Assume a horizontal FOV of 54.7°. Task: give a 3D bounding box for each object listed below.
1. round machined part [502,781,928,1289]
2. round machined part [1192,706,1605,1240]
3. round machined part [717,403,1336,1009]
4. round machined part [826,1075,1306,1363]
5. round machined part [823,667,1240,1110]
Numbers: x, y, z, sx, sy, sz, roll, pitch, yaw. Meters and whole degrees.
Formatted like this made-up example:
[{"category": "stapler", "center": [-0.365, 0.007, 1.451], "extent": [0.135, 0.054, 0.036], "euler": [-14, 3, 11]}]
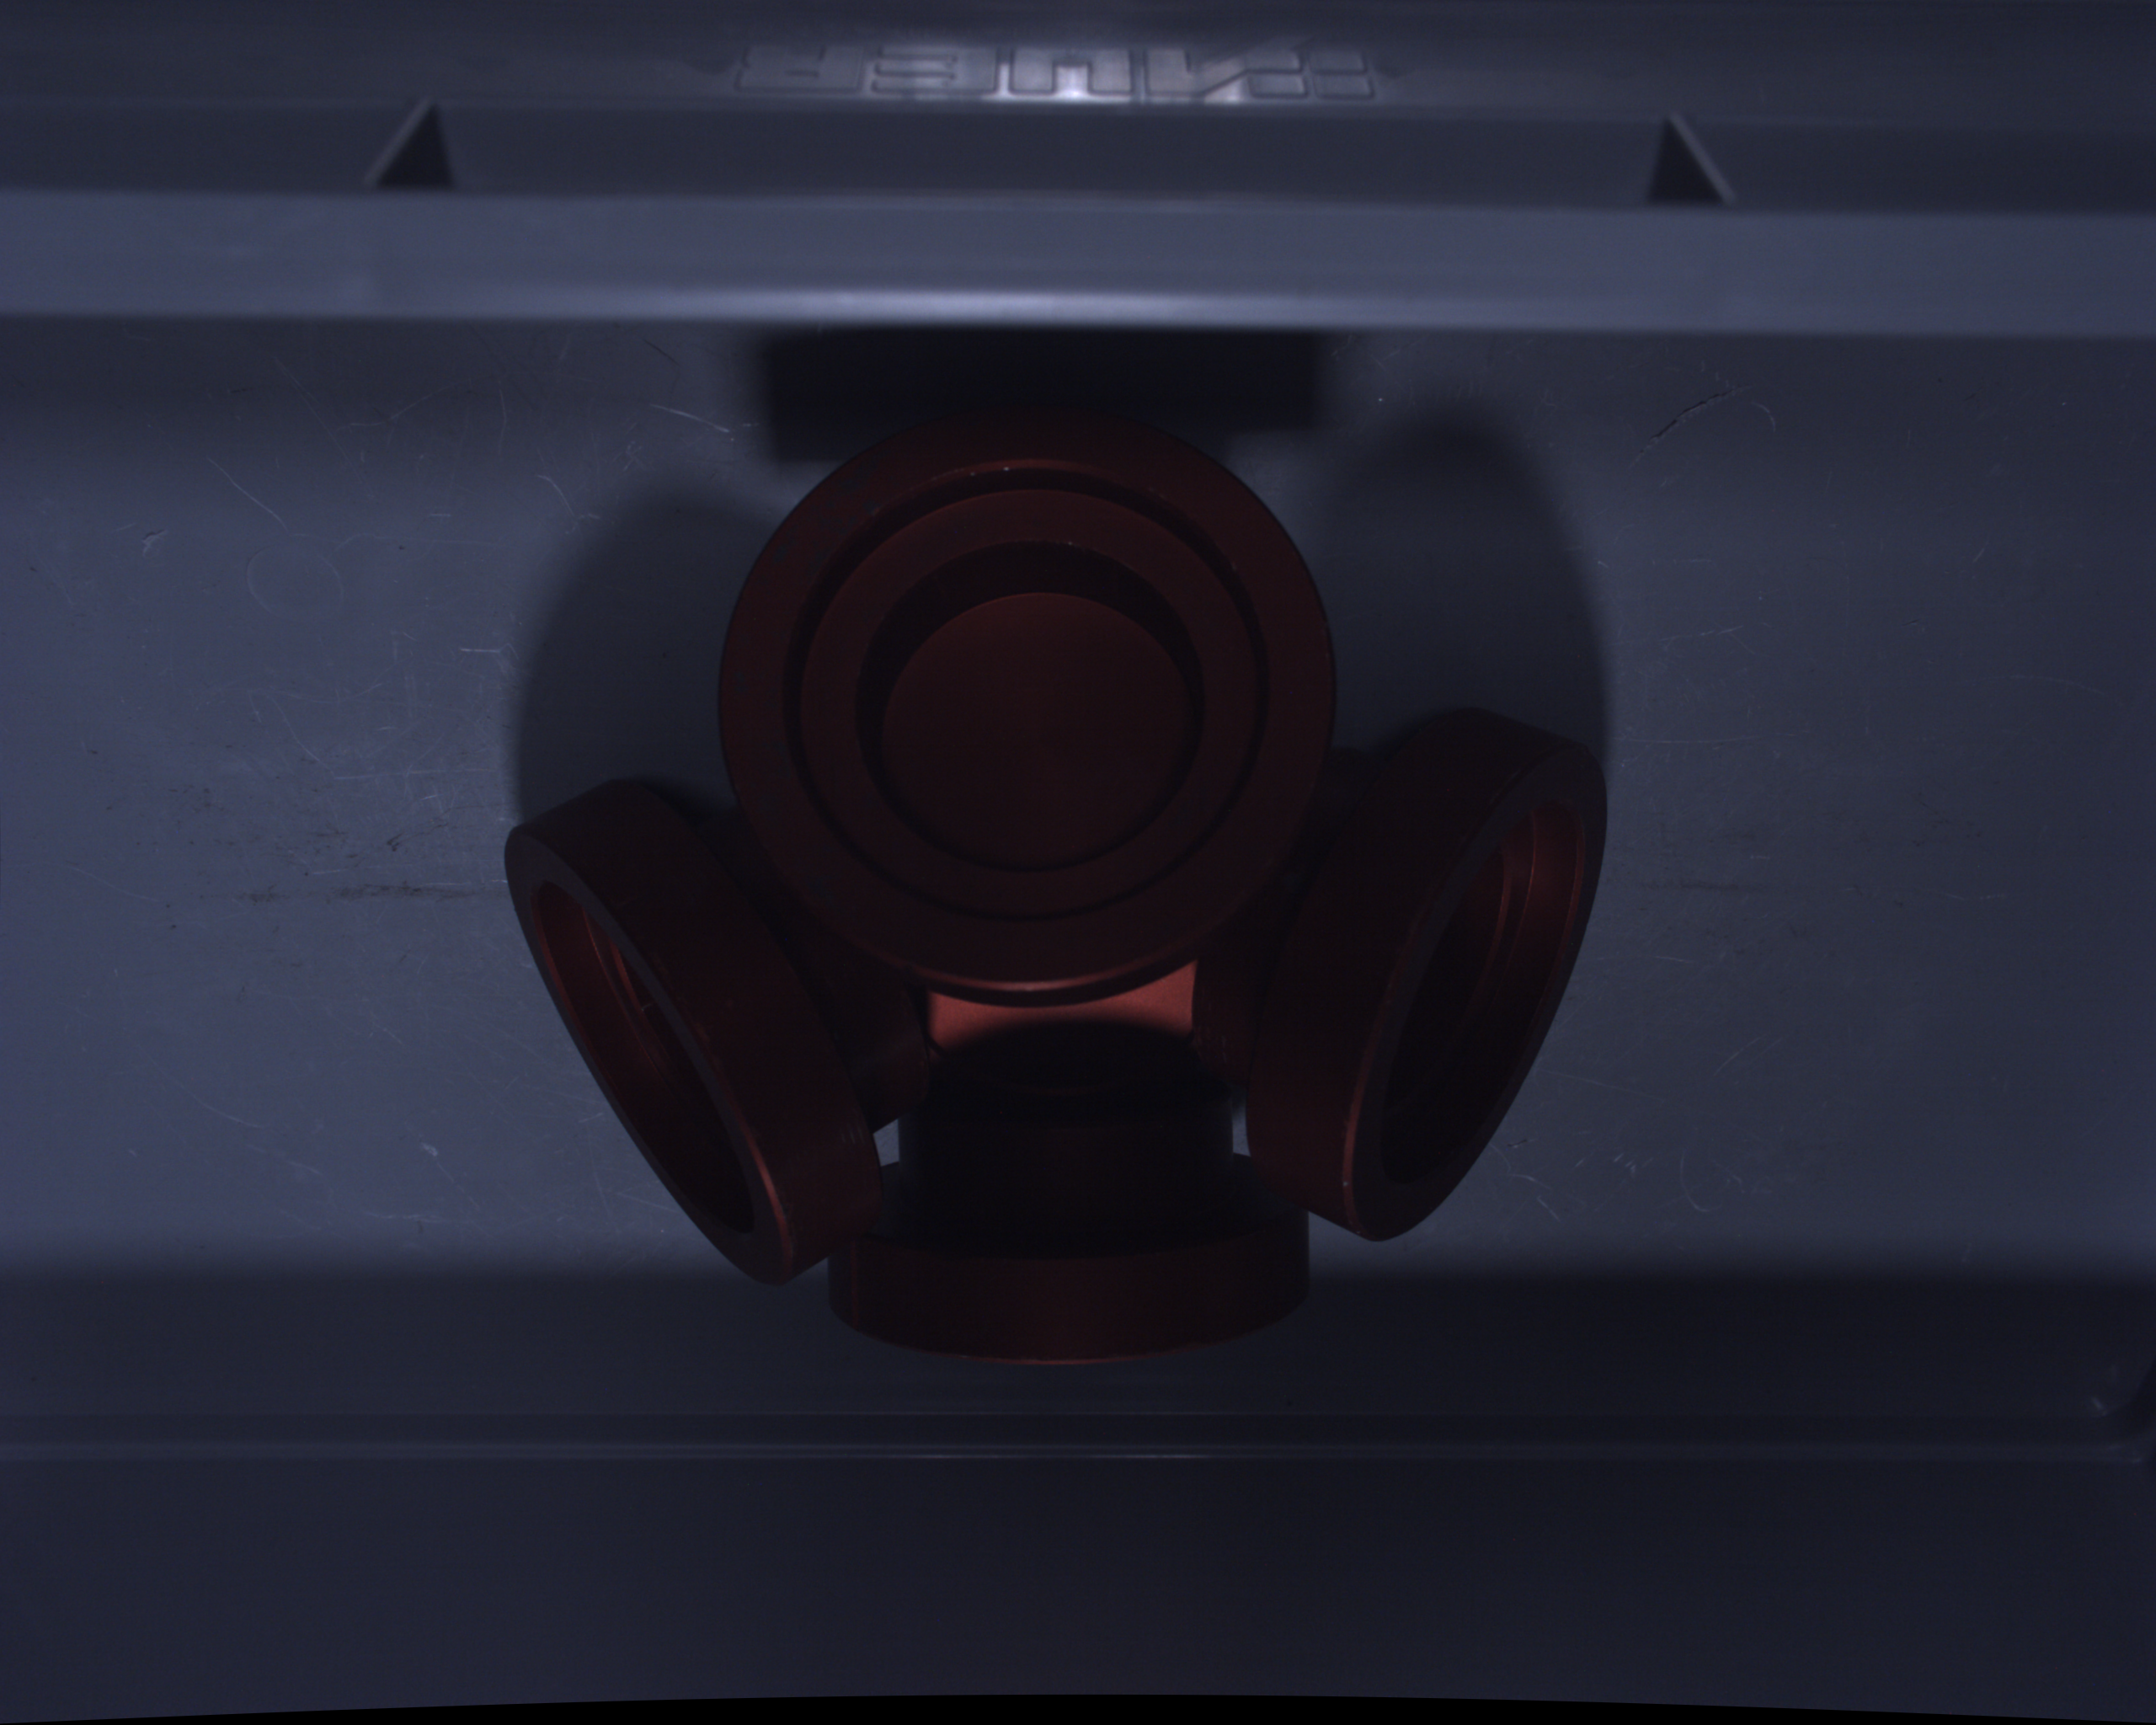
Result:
[{"category": "round machined part", "center": [-0.065, 0.028, 0.394], "extent": [0.042, 0.098, 0.097], "euler": [-31, 135, -24]}, {"category": "round machined part", "center": [0.057, 0.017, 0.388], "extent": [0.042, 0.099, 0.097], "euler": [23, 137, 28]}, {"category": "round machined part", "center": [-0.007, -0.024, 0.351], "extent": [0.099, 0.098, 0.042], "euler": [-3, 168, 2]}, {"category": "round machined part", "center": [-0.003, 0.067, 0.428], "extent": [0.099, 0.098, 0.042], "euler": [-1, 94, 0]}, {"category": "round machined part", "center": [-0.004, 0.010, 0.404], "extent": [0.099, 0.042, 0.097], "euler": [-1, 130, 0]}]
